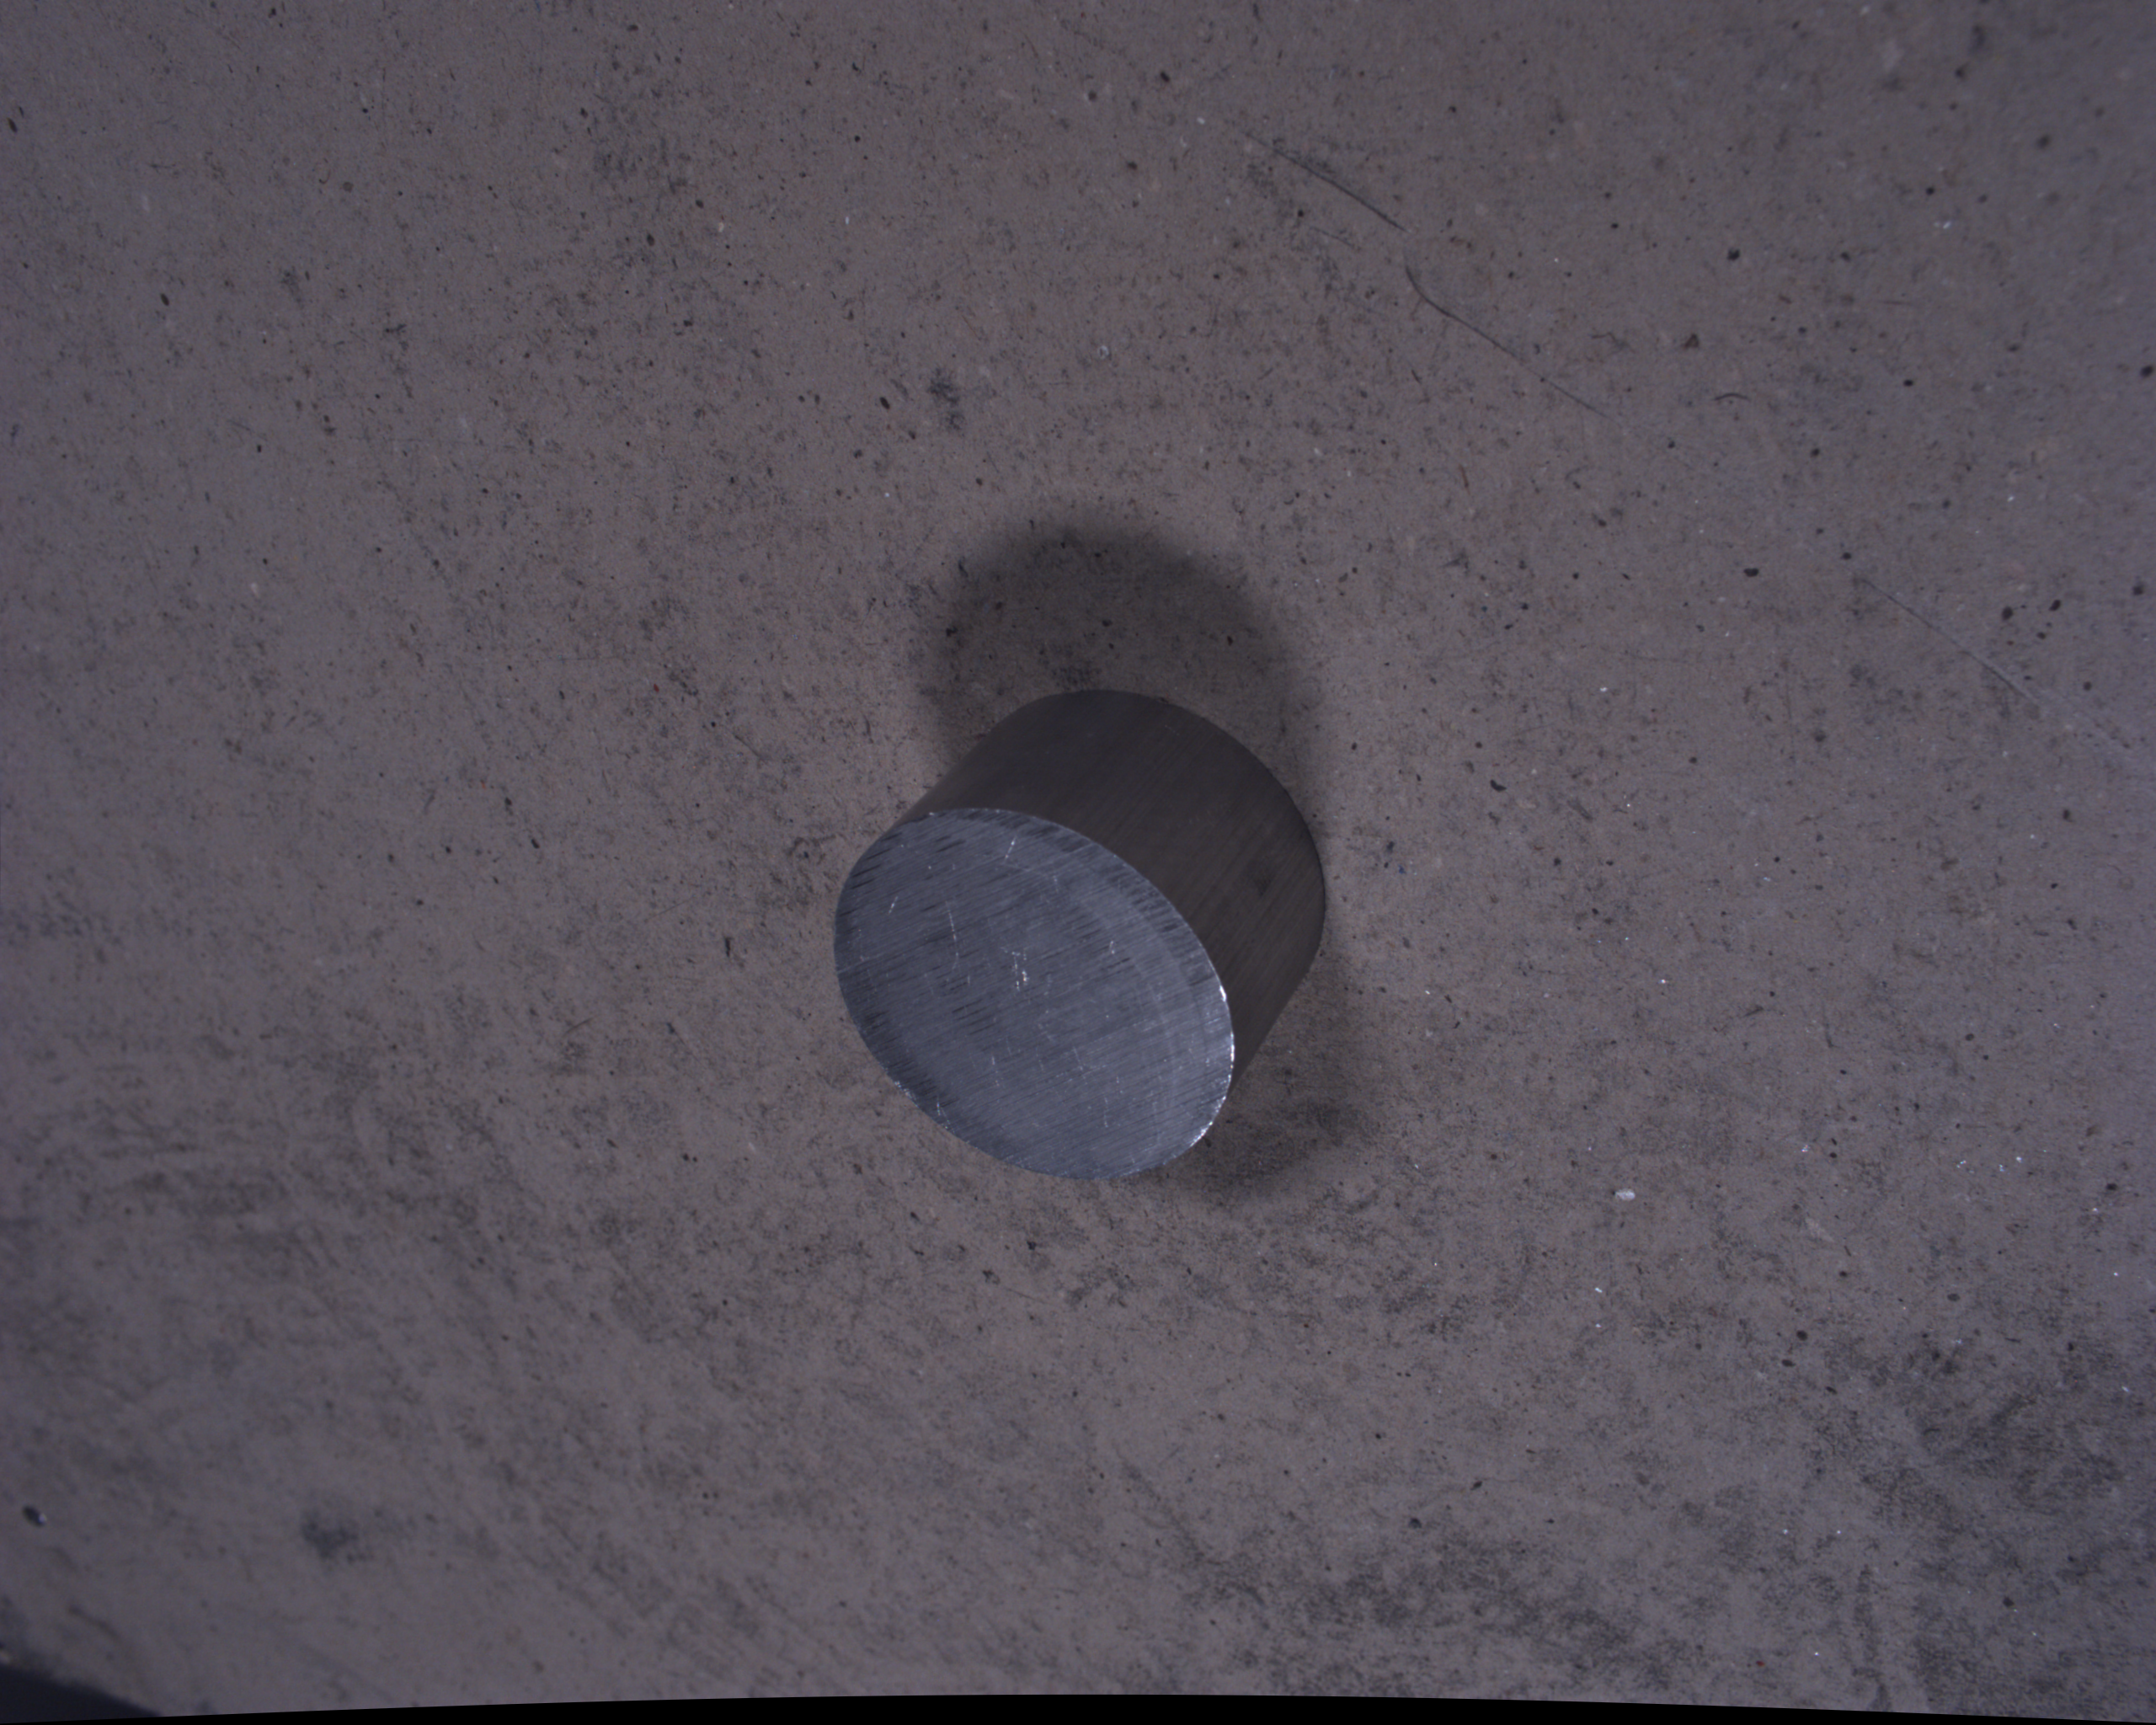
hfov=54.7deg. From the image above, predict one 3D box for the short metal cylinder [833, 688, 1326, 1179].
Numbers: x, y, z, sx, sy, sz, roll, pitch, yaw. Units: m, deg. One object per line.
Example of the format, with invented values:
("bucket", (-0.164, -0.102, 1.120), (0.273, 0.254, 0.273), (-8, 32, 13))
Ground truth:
("short metal cylinder", (0.001, 0.013, 0.399), (0.080, 0.050, 0.079), (13, 124, 20))
